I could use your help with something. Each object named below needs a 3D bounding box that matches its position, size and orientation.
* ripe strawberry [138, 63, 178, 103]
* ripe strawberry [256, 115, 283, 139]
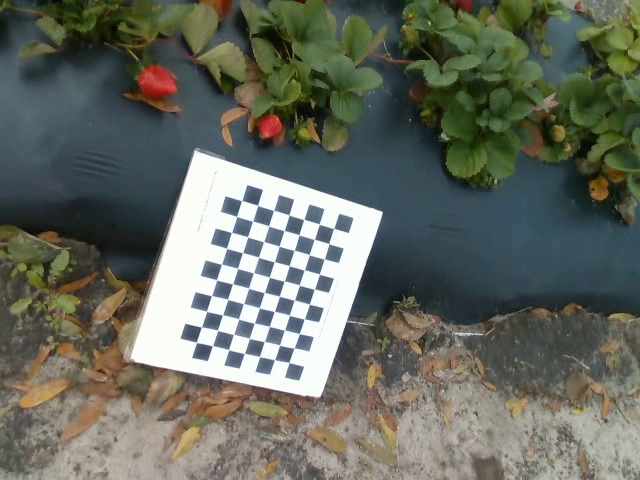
[{"bbox_3d":[-0.207,-0.202,0.804,0.065,0.046,0.043,26,4,31],"label":"ripe strawberry"},{"bbox_3d":[-0.070,-0.153,0.856,0.041,0.042,0.037,28,-50,-20],"label":"ripe strawberry"}]
